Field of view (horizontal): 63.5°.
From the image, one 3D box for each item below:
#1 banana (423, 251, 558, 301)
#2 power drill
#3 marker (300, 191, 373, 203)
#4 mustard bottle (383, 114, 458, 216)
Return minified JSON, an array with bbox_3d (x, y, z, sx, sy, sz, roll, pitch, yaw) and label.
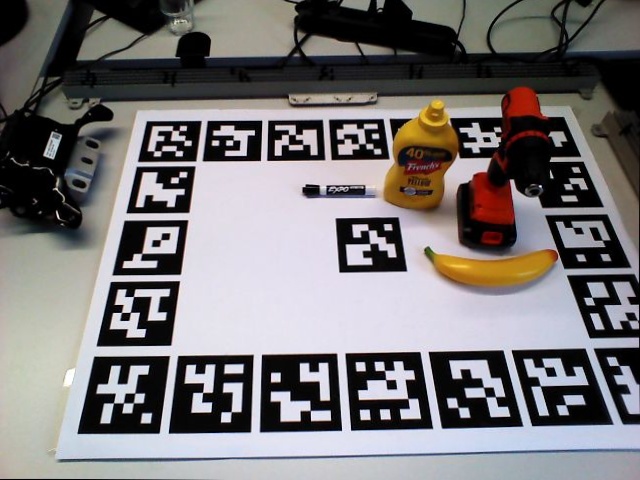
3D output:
[{"bbox_3d":[0.253,0.056,0.767,0.198,0.039,0.074,5,58,5],"label":"banana"},{"bbox_3d":[0.262,-0.070,0.735,0.057,0.188,0.183,11,55,5],"label":"power drill"},{"bbox_3d":[0.027,-0.071,0.859,0.121,0.020,0.019,1,58,0],"label":"marker"},{"bbox_3d":[0.155,-0.113,0.783,0.096,0.192,0.058,9,57,4],"label":"mustard bottle"}]
